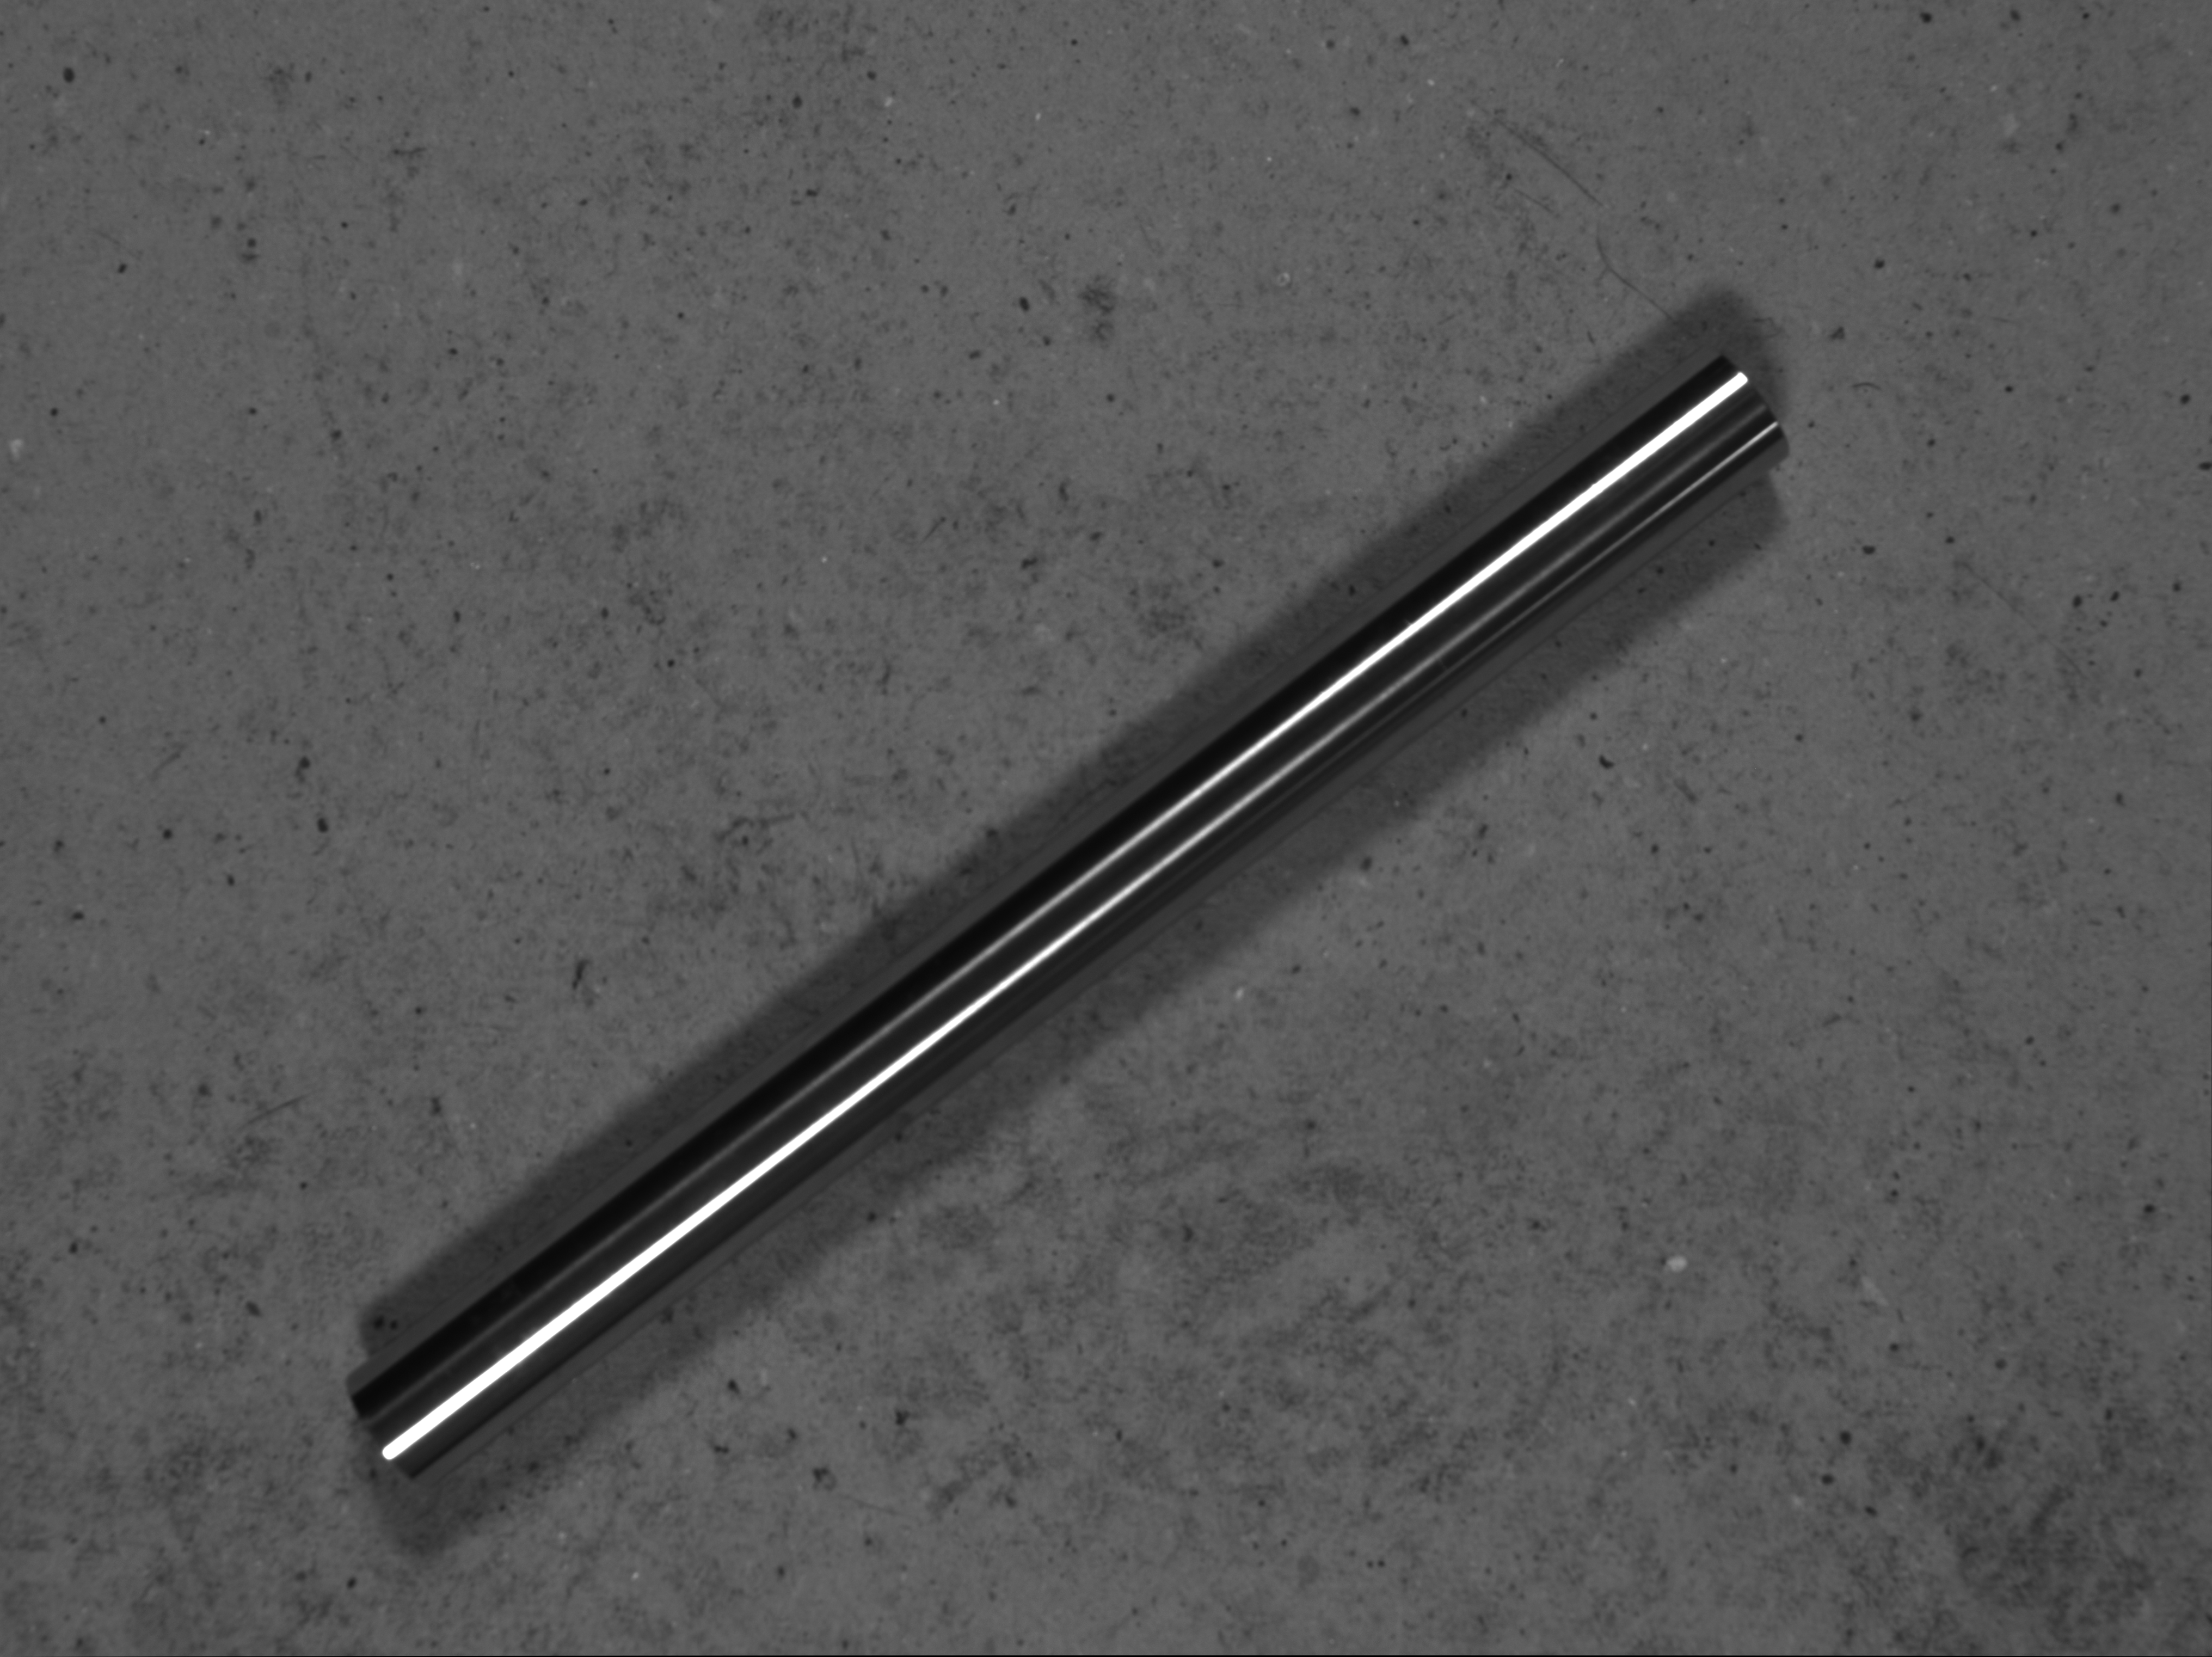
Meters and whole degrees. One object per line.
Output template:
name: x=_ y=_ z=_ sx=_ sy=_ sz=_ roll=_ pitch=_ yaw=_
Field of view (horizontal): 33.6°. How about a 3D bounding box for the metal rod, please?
metal rod: x=-0.008 y=0.015 z=0.645 sx=0.300 sy=0.025 sz=0.025 roll=-37 pitch=90 yaw=0
